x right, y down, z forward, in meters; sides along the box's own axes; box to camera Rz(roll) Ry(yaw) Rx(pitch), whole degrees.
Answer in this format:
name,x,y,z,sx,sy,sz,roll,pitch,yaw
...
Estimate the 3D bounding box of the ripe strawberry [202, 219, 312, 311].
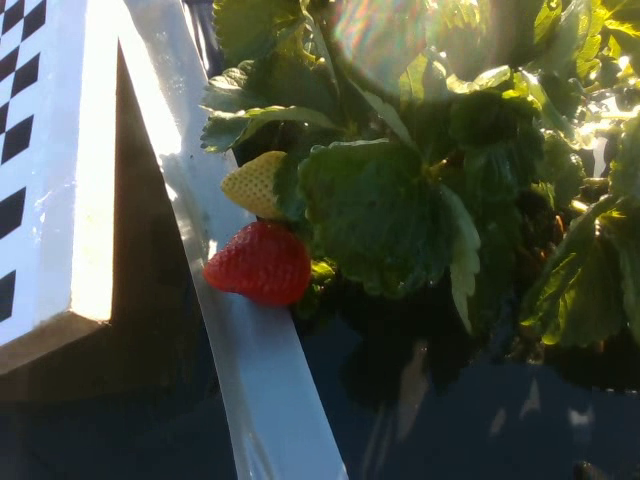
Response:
name,x,y,z,sx,sy,sz,roll,pitch,yaw
ripe strawberry,-0.030,0.012,0.280,0.045,0.049,0.063,-1,6,39
